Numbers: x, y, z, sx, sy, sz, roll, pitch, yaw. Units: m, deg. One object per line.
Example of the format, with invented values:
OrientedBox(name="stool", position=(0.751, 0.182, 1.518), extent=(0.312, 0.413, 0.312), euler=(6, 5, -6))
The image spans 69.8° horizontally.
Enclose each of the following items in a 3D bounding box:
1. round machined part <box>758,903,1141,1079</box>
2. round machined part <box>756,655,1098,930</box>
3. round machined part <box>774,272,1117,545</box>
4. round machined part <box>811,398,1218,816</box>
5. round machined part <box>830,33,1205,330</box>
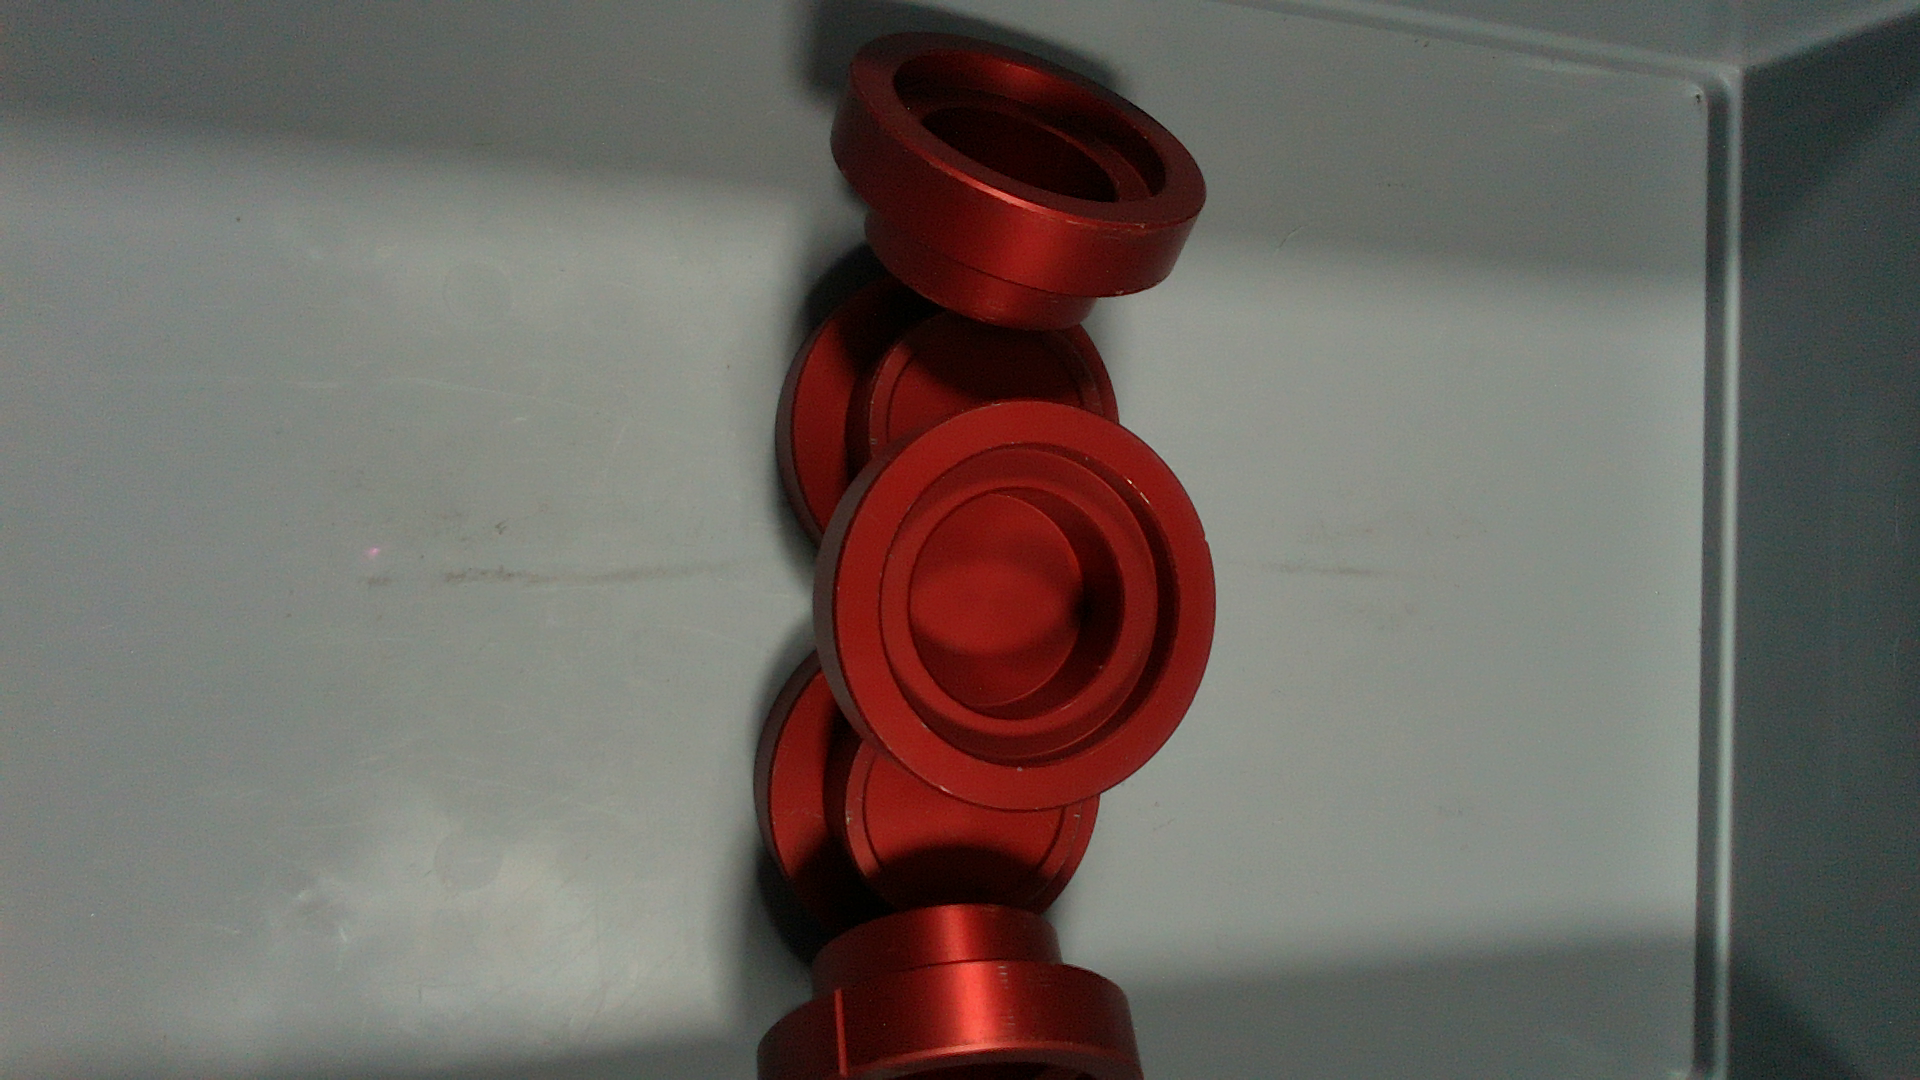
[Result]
OrientedBox(name="round machined part", position=(-0.004, 0.129, 0.363), extent=(0.098, 0.098, 0.042), euler=(7, 50, -20))
OrientedBox(name="round machined part", position=(-0.005, 0.068, 0.381), extent=(0.098, 0.042, 0.098), euler=(0, 90, -20))
OrientedBox(name="round machined part", position=(0.001, -0.030, 0.383), extent=(0.098, 0.042, 0.098), euler=(0, 90, -20))
OrientedBox(name="round machined part", position=(0.011, 0.016, 0.341), extent=(0.098, 0.042, 0.098), euler=(0, 90, -20))
OrientedBox(name="round machined part", position=(0.012, -0.093, 0.368), extent=(0.098, 0.098, 0.042), euler=(8, 130, -20))
